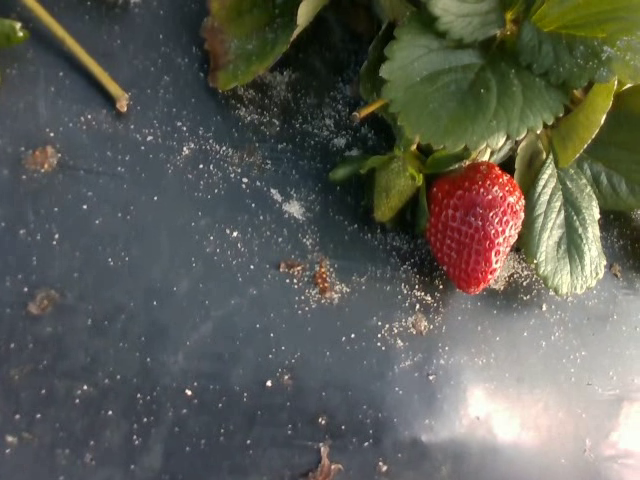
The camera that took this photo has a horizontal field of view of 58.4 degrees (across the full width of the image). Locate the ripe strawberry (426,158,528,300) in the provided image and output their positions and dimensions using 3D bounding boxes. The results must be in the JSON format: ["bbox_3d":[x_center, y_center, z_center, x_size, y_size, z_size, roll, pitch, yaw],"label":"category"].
[{"bbox_3d":[0.037,-0.001,0.133,0.029,0.036,0.021,7,-17,-9],"label":"ripe strawberry"}]
